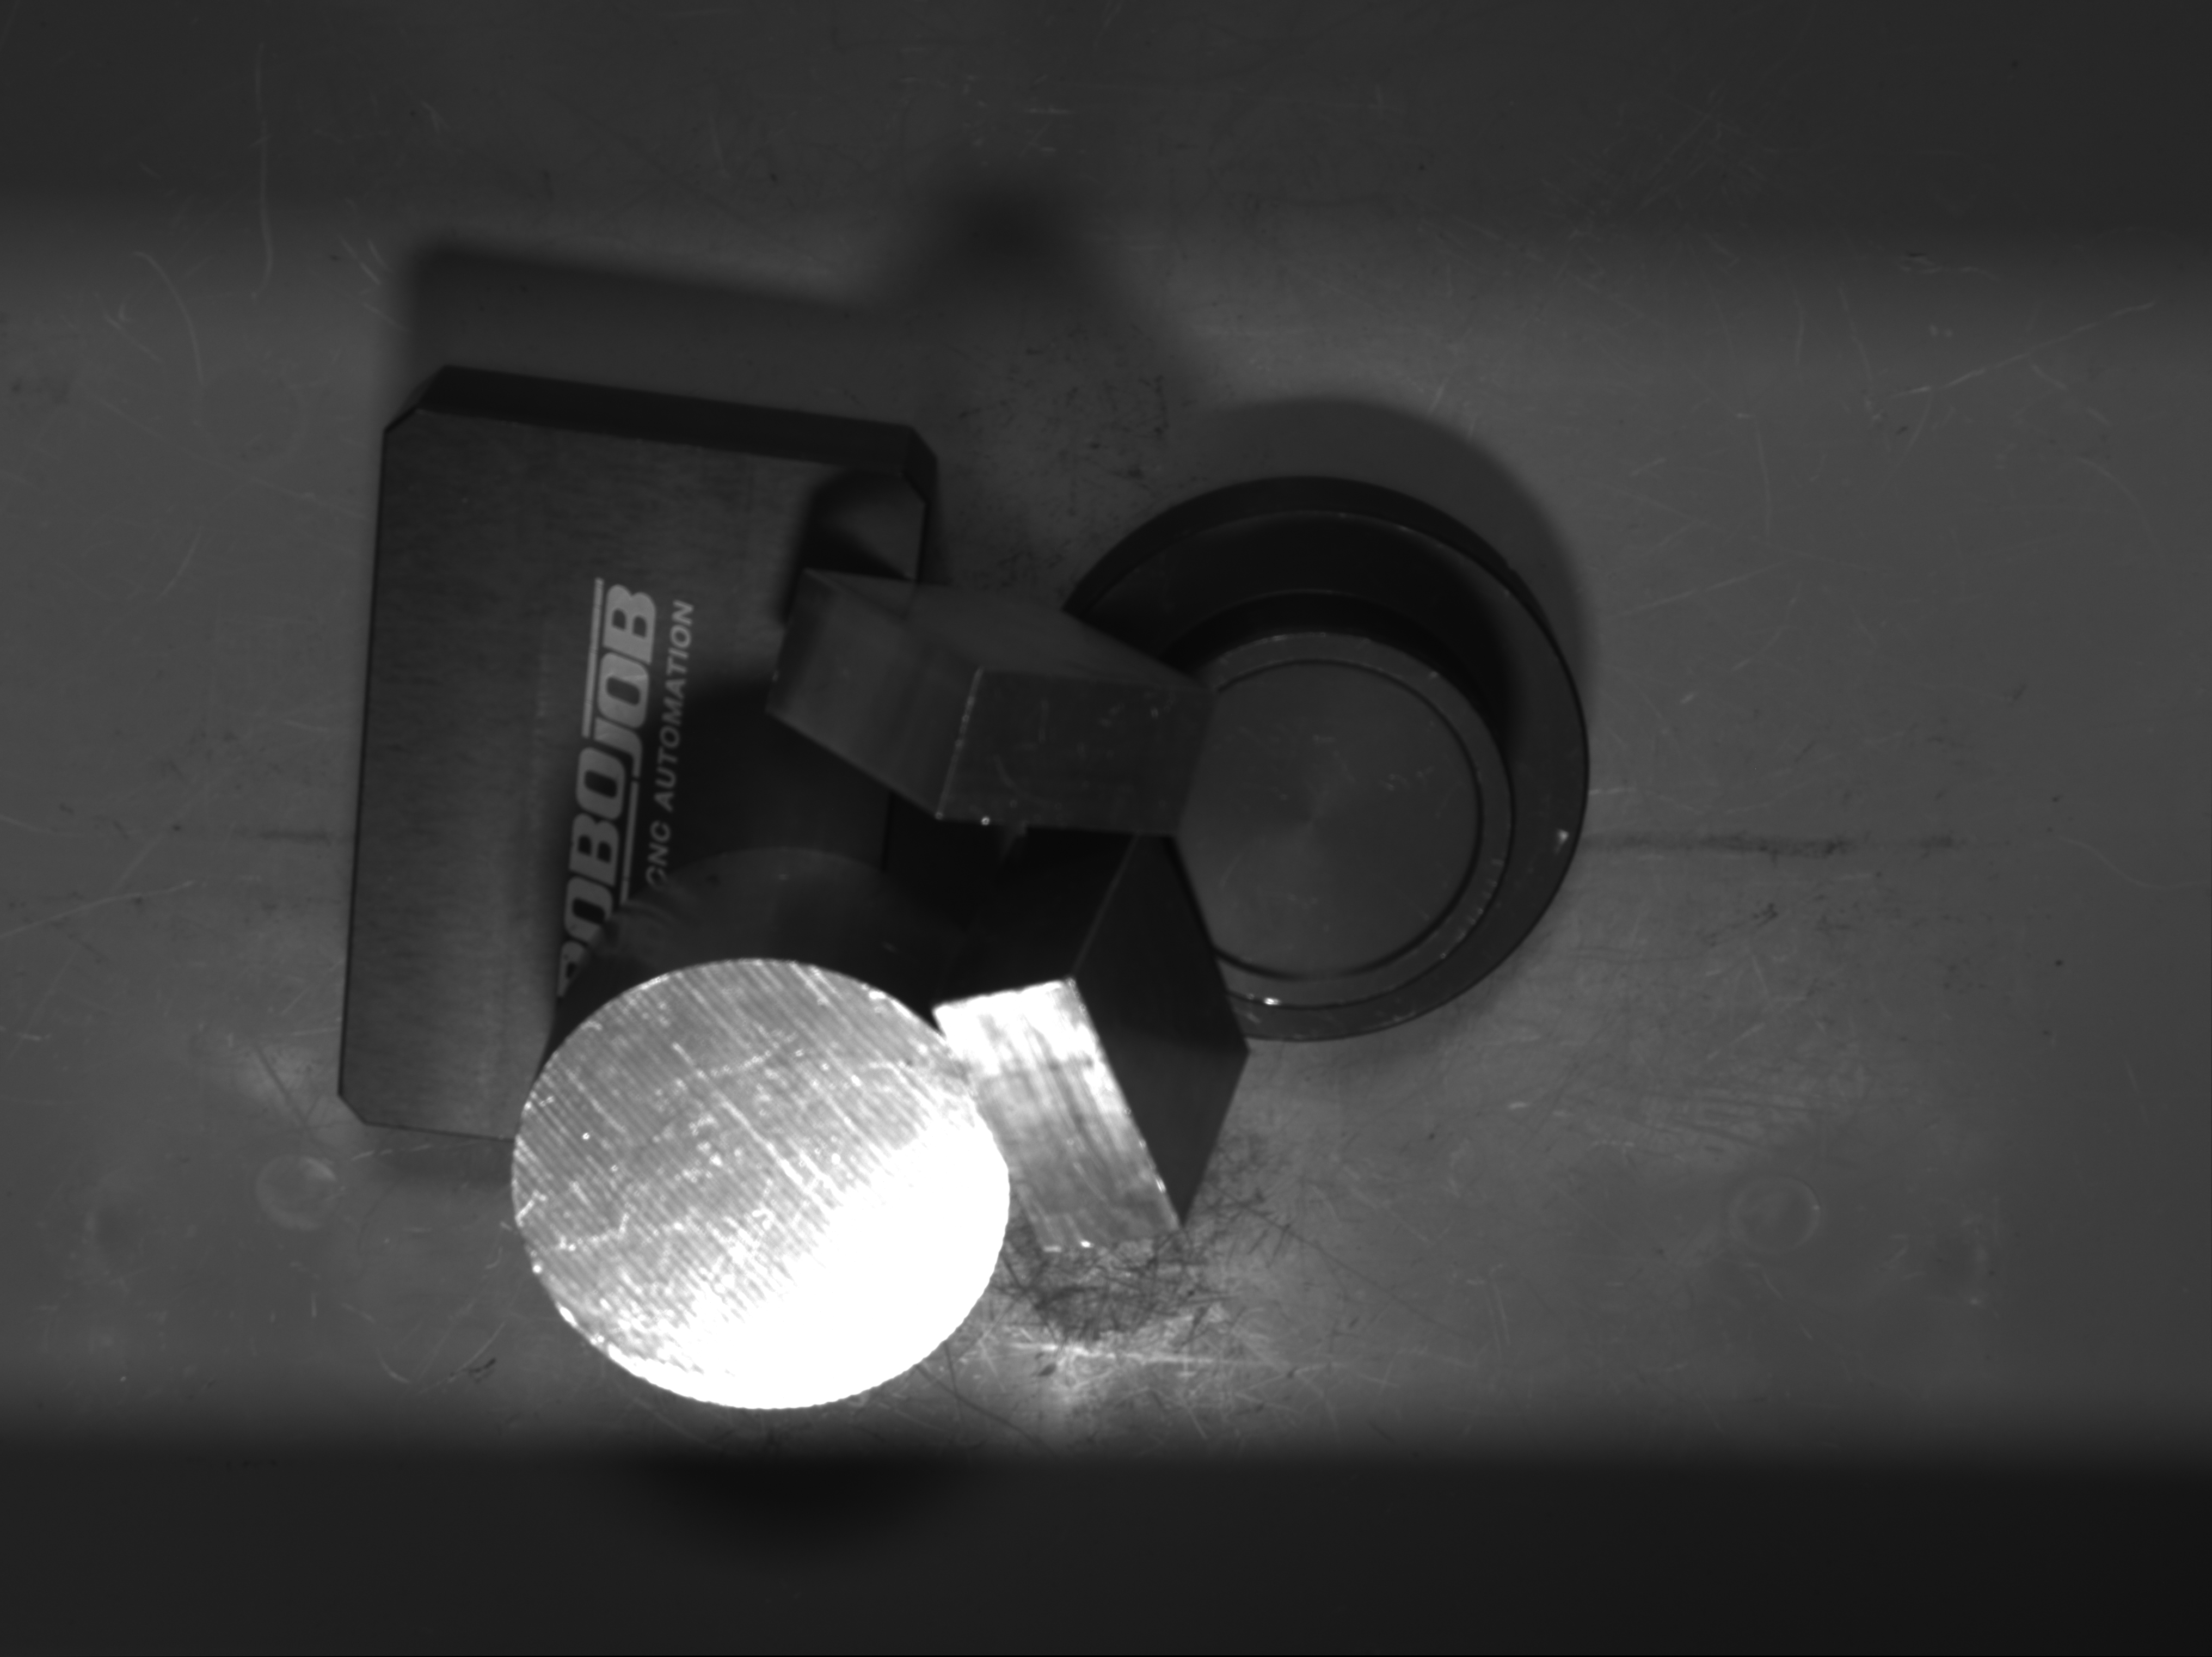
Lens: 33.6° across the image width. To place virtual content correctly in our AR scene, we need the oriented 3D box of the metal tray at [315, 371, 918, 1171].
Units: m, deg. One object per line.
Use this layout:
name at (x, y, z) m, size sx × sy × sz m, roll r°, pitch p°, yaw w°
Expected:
metal tray at (-0.085, -0.007, 0.633) m, size 0.090 × 0.030 × 0.130 m, roll 7°, pitch 110°, yaw -3°

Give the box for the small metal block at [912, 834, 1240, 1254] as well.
small metal block at (-0.004, 0.033, 0.599) m, size 0.025 × 0.050 × 0.050 m, roll -12°, pitch 117°, yaw 23°

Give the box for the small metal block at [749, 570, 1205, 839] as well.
small metal block at (-0.021, -0.020, 0.594) m, size 0.050 × 0.050 × 0.025 m, roll 4°, pitch 108°, yaw -41°

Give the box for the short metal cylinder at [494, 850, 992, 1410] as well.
short metal cylinder at (-0.059, 0.050, 0.614) m, size 0.080 × 0.050 × 0.080 m, roll 0°, pitch 110°, yaw -1°

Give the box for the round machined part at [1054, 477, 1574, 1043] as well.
round machined part at (0.032, -0.008, 0.630) m, size 0.098 × 0.042 × 0.098 m, roll 0°, pitch 110°, yaw -1°
